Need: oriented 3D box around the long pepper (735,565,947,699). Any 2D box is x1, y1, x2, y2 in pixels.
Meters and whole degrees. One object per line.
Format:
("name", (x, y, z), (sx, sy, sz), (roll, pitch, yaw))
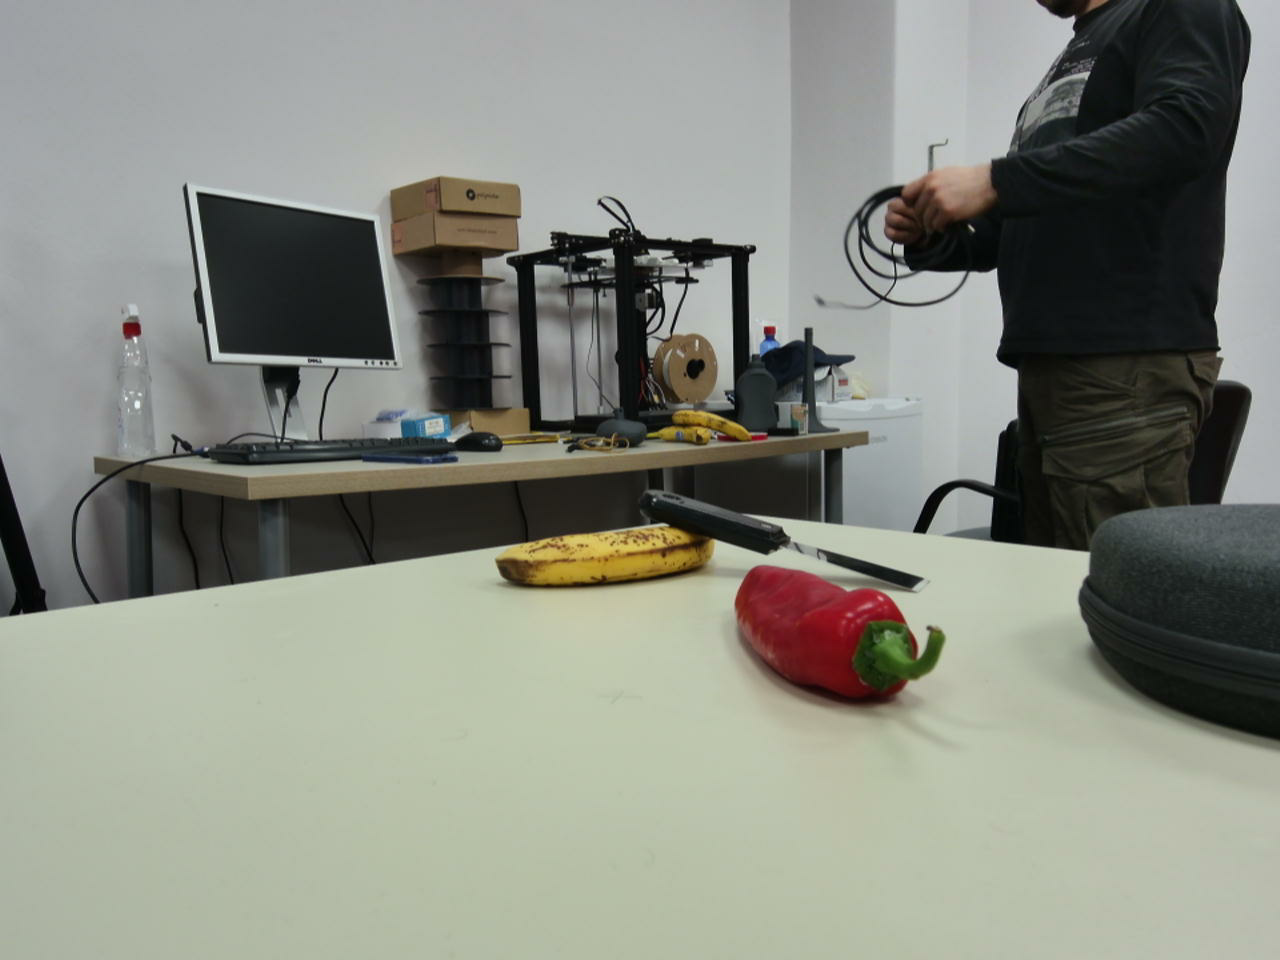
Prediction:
("long pepper", (0.076, 0.062, 0.448), (0.050, 0.043, 0.211), (0, 3, -9))
